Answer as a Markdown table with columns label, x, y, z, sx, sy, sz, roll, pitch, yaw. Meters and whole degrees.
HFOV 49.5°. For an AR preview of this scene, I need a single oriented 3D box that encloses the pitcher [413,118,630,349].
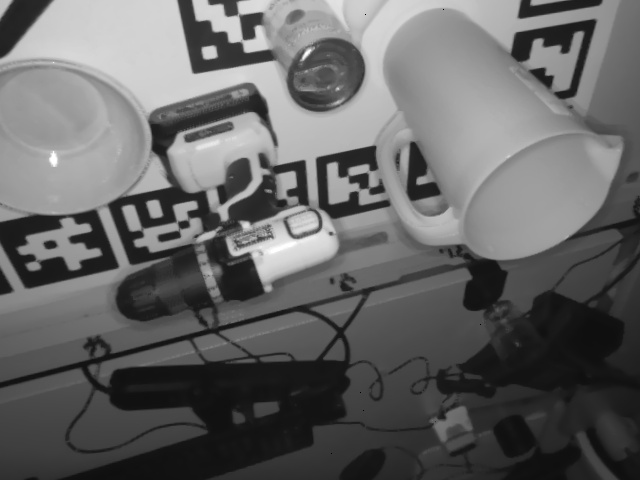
| label | x | y | z | sx | sy | sz | roll | pitch | yaw |
| --- | --- | --- | --- | --- | --- | --- | --- | --- | --- |
| pitcher | 0.176 | -0.014 | 0.709 | 0.188 | 0.243 | 0.134 | -31 | 138 | 9 |

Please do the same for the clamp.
| label | x | y | z | sx | sy | sz | roll | pitch | yaw |
| --- | --- | --- | --- | --- | --- | --- | --- | --- | --- |
| clamp | -0.142 | -0.133 | 0.603 | 0.204 | 0.037 | 0.164 | -16 | 131 | -7 |

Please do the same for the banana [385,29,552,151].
| label | x | y | z | sx | sy | sz | roll | pitch | yaw |
| --- | --- | --- | --- | --- | --- | --- | --- | --- | --- |
| banana | 0.142 | -0.163 | 0.704 | 0.196 | 0.039 | 0.074 | -31 | 144 | 10 |

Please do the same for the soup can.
| label | x | y | z | sx | sy | sz | roll | pitch | yaw |
| --- | --- | --- | --- | --- | --- | --- | --- | --- | --- |
| soup can | 0.036 | -0.075 | 0.696 | 0.068 | 0.102 | 0.067 | -14 | 143 | -10 |

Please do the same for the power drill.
| label | x | y | z | sx | sy | sz | roll | pitch | yaw |
| --- | --- | --- | --- | --- | --- | --- | --- | --- | --- |
| power drill | -0.053 | 0.064 | 0.701 | 0.185 | 0.187 | 0.057 | -17 | 135 | -5 |

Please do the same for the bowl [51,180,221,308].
| label | x | y | z | sx | sy | sz | roll | pitch | yaw |
| --- | --- | --- | --- | --- | --- | --- | --- | --- | --- |
| bowl | -0.185 | -0.005 | 0.701 | 0.163 | 0.055 | 0.160 | -12 | 133 | -12 |
